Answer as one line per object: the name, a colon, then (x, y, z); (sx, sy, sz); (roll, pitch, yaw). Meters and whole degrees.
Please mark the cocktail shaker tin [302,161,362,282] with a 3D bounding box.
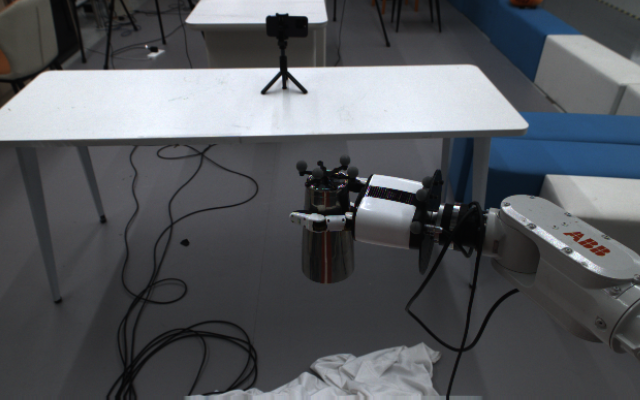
cocktail shaker tin: (0.015, 0.037, 0.787); (0.093, 0.170, 0.093); (-1, 32, 0)
